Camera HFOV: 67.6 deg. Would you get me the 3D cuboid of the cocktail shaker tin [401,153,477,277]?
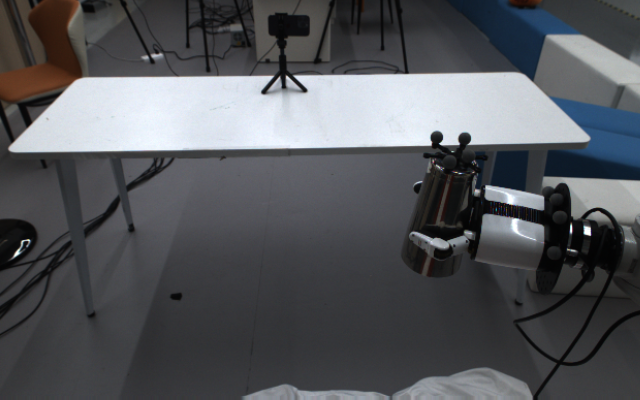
[{"bbox_3d":[0.178,0.017,0.703,0.093,0.170,0.093,3,34,-2],"label":"cocktail shaker tin"}]
